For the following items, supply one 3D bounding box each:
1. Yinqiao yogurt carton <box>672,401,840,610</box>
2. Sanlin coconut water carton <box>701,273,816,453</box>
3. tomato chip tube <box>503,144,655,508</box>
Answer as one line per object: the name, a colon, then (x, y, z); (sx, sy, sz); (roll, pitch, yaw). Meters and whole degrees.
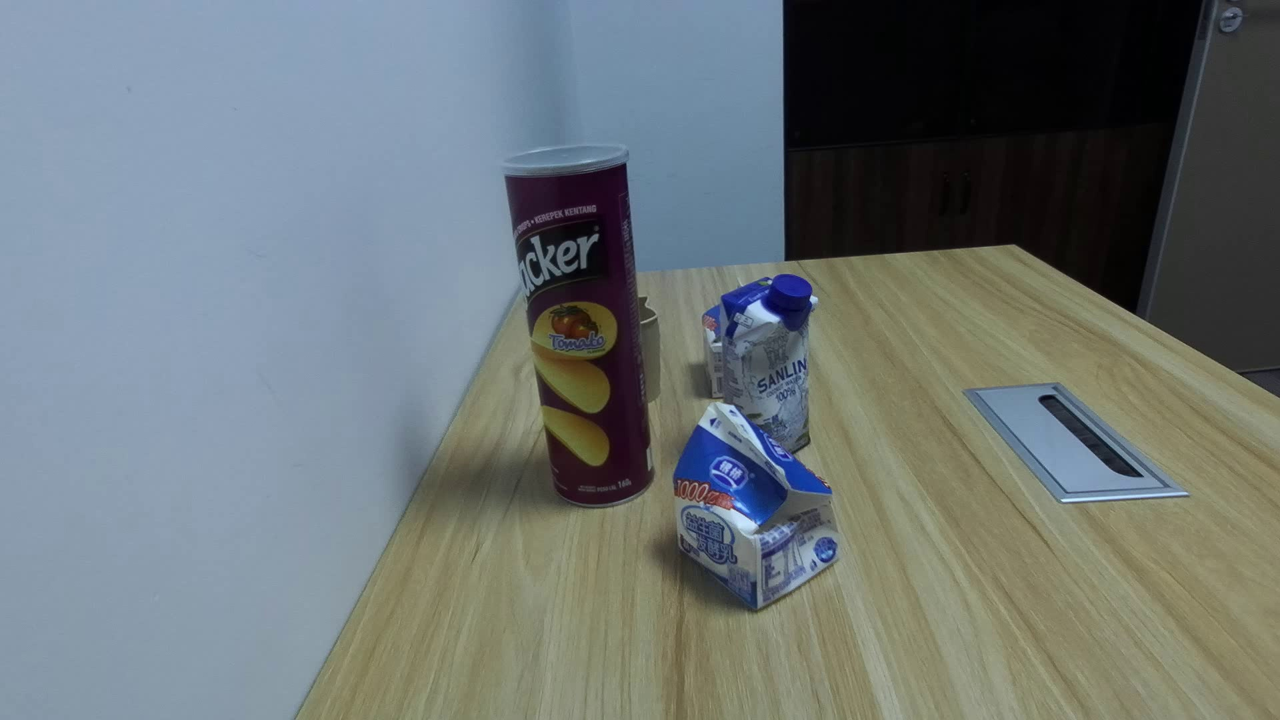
Yinqiao yogurt carton: (0.066, 0.076, 0.416); (0.077, 0.093, 0.083); (-19, 28, -31)
Sanlin coconut water carton: (0.094, 0.005, 0.514); (0.078, 0.142, 0.057); (-24, 36, -36)
tomato chip tube: (-0.036, -0.018, 0.479); (0.078, 0.234, 0.078); (-4, 24, 2)
